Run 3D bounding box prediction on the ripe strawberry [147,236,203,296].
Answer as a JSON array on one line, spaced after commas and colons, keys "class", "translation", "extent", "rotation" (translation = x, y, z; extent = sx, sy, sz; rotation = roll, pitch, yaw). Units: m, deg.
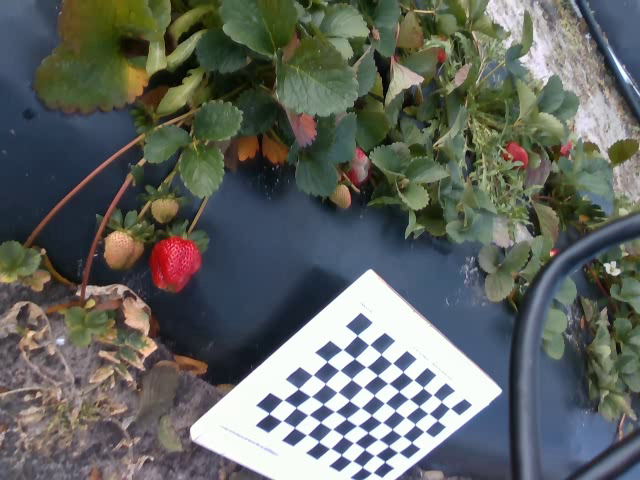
[{"class": "ripe strawberry", "translation": [-0.148, 0.027, 0.550], "extent": [0.066, 0.075, 0.053], "rotation": [21, 20, -28]}]
